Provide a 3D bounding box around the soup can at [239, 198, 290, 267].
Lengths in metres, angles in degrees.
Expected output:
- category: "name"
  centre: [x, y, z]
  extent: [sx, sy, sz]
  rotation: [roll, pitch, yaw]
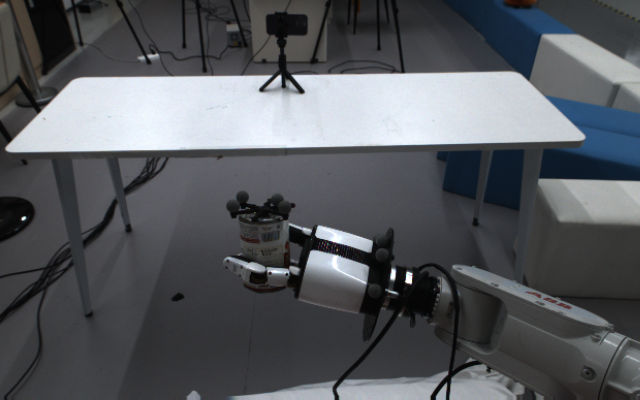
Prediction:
- category: "soup can"
  centre: [-0.073, 0.067, 0.656]
  extent: [0.067, 0.101, 0.067]
  rotation: [-1, 16, 0]
